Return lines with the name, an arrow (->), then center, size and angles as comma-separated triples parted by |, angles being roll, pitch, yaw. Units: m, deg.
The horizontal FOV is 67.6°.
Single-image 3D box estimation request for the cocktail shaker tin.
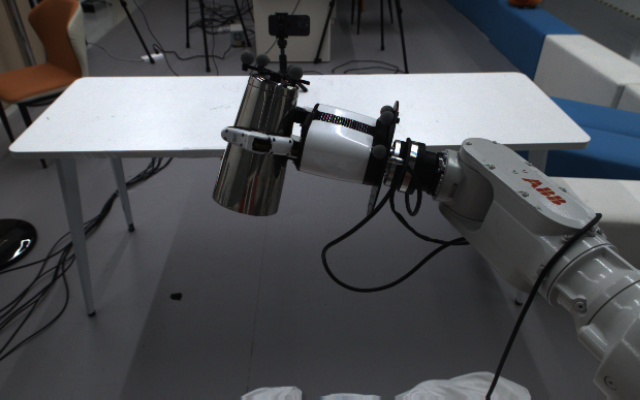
cocktail shaker tin -> -0.081, -0.075, 0.643 | 0.093, 0.170, 0.093 | 15, 17, -5
